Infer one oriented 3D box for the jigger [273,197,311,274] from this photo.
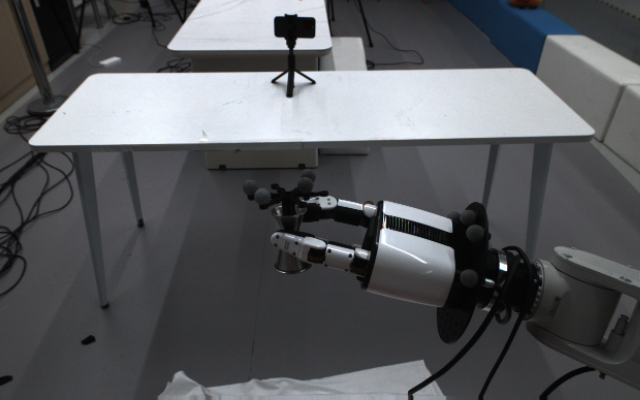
[{"bbox_3d":[-0.032,0.043,0.545,0.043,0.071,0.043,-2,19,1],"label":"jigger"}]
